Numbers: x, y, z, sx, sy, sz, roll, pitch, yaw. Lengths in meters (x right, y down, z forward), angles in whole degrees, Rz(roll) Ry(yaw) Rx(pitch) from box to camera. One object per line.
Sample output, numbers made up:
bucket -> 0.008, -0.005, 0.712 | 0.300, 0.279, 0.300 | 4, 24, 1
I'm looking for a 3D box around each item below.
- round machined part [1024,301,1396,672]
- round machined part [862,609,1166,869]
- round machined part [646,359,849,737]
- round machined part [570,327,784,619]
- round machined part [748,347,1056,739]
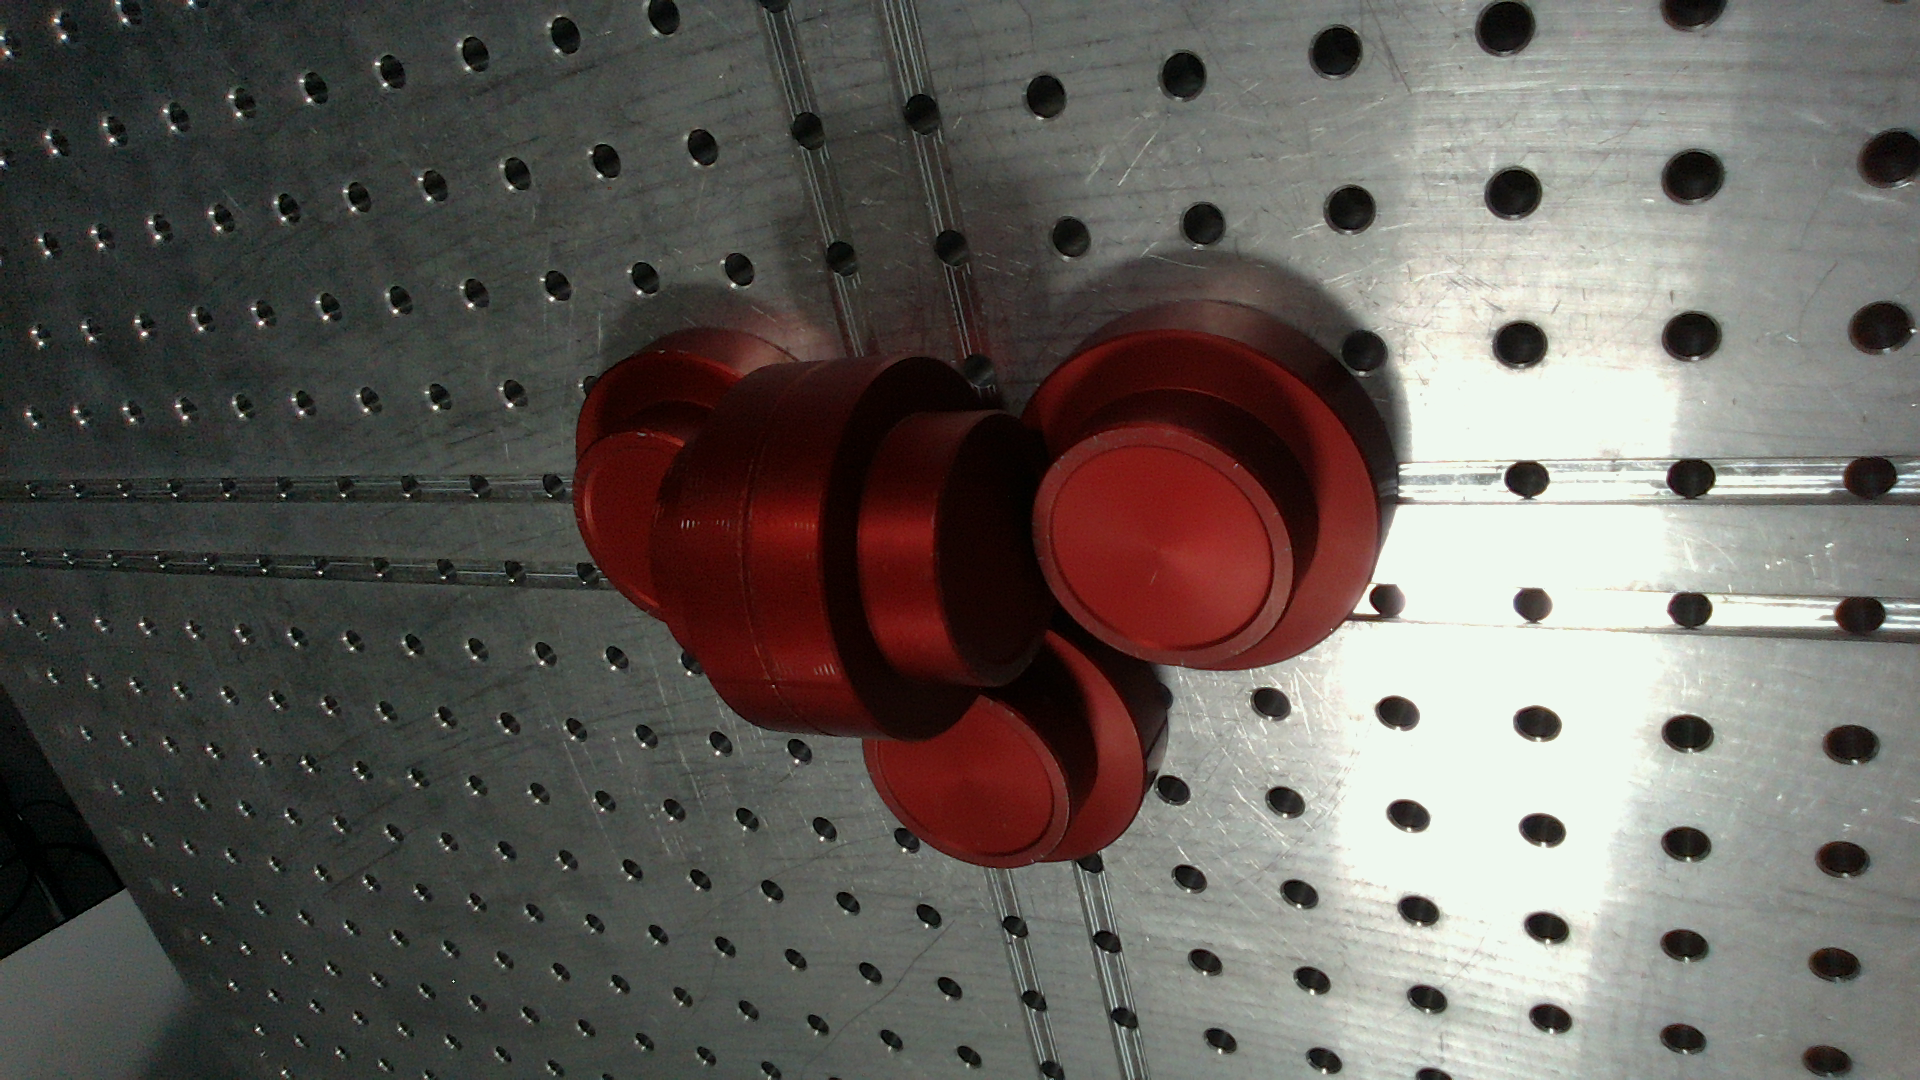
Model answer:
round machined part -> 0.057, -0.007, 0.349 | 0.098, 0.042, 0.098 | 13, 124, 21
round machined part -> 0.010, 0.060, 0.416 | 0.098, 0.042, 0.098 | 13, 124, 21
round machined part -> -0.045, 0.002, 0.366 | 0.042, 0.098, 0.098 | 1, 119, 28
round machined part -> -0.078, -0.011, 0.420 | 0.098, 0.042, 0.098 | 13, 124, 21
round machined part -> -0.007, 0.001, 0.346 | 0.042, 0.098, 0.098 | -1, 118, 29
